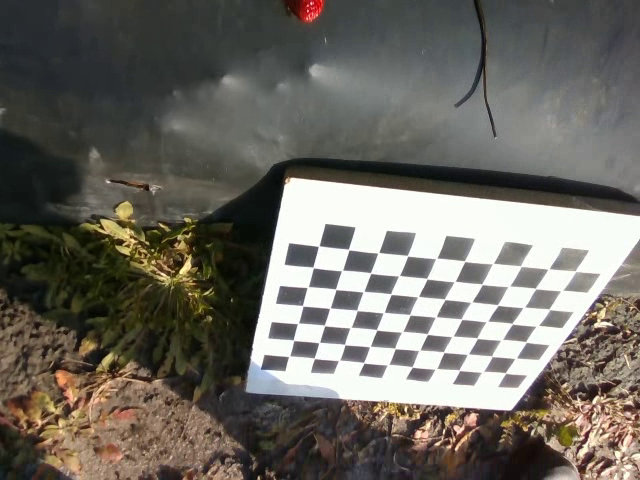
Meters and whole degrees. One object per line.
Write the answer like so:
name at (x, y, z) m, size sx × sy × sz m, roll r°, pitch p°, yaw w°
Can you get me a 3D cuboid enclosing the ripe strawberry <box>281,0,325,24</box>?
ripe strawberry at (-0.003, -0.113, 0.354) m, size 0.028 × 0.041 × 0.031 m, roll -11°, pitch -12°, yaw 8°
